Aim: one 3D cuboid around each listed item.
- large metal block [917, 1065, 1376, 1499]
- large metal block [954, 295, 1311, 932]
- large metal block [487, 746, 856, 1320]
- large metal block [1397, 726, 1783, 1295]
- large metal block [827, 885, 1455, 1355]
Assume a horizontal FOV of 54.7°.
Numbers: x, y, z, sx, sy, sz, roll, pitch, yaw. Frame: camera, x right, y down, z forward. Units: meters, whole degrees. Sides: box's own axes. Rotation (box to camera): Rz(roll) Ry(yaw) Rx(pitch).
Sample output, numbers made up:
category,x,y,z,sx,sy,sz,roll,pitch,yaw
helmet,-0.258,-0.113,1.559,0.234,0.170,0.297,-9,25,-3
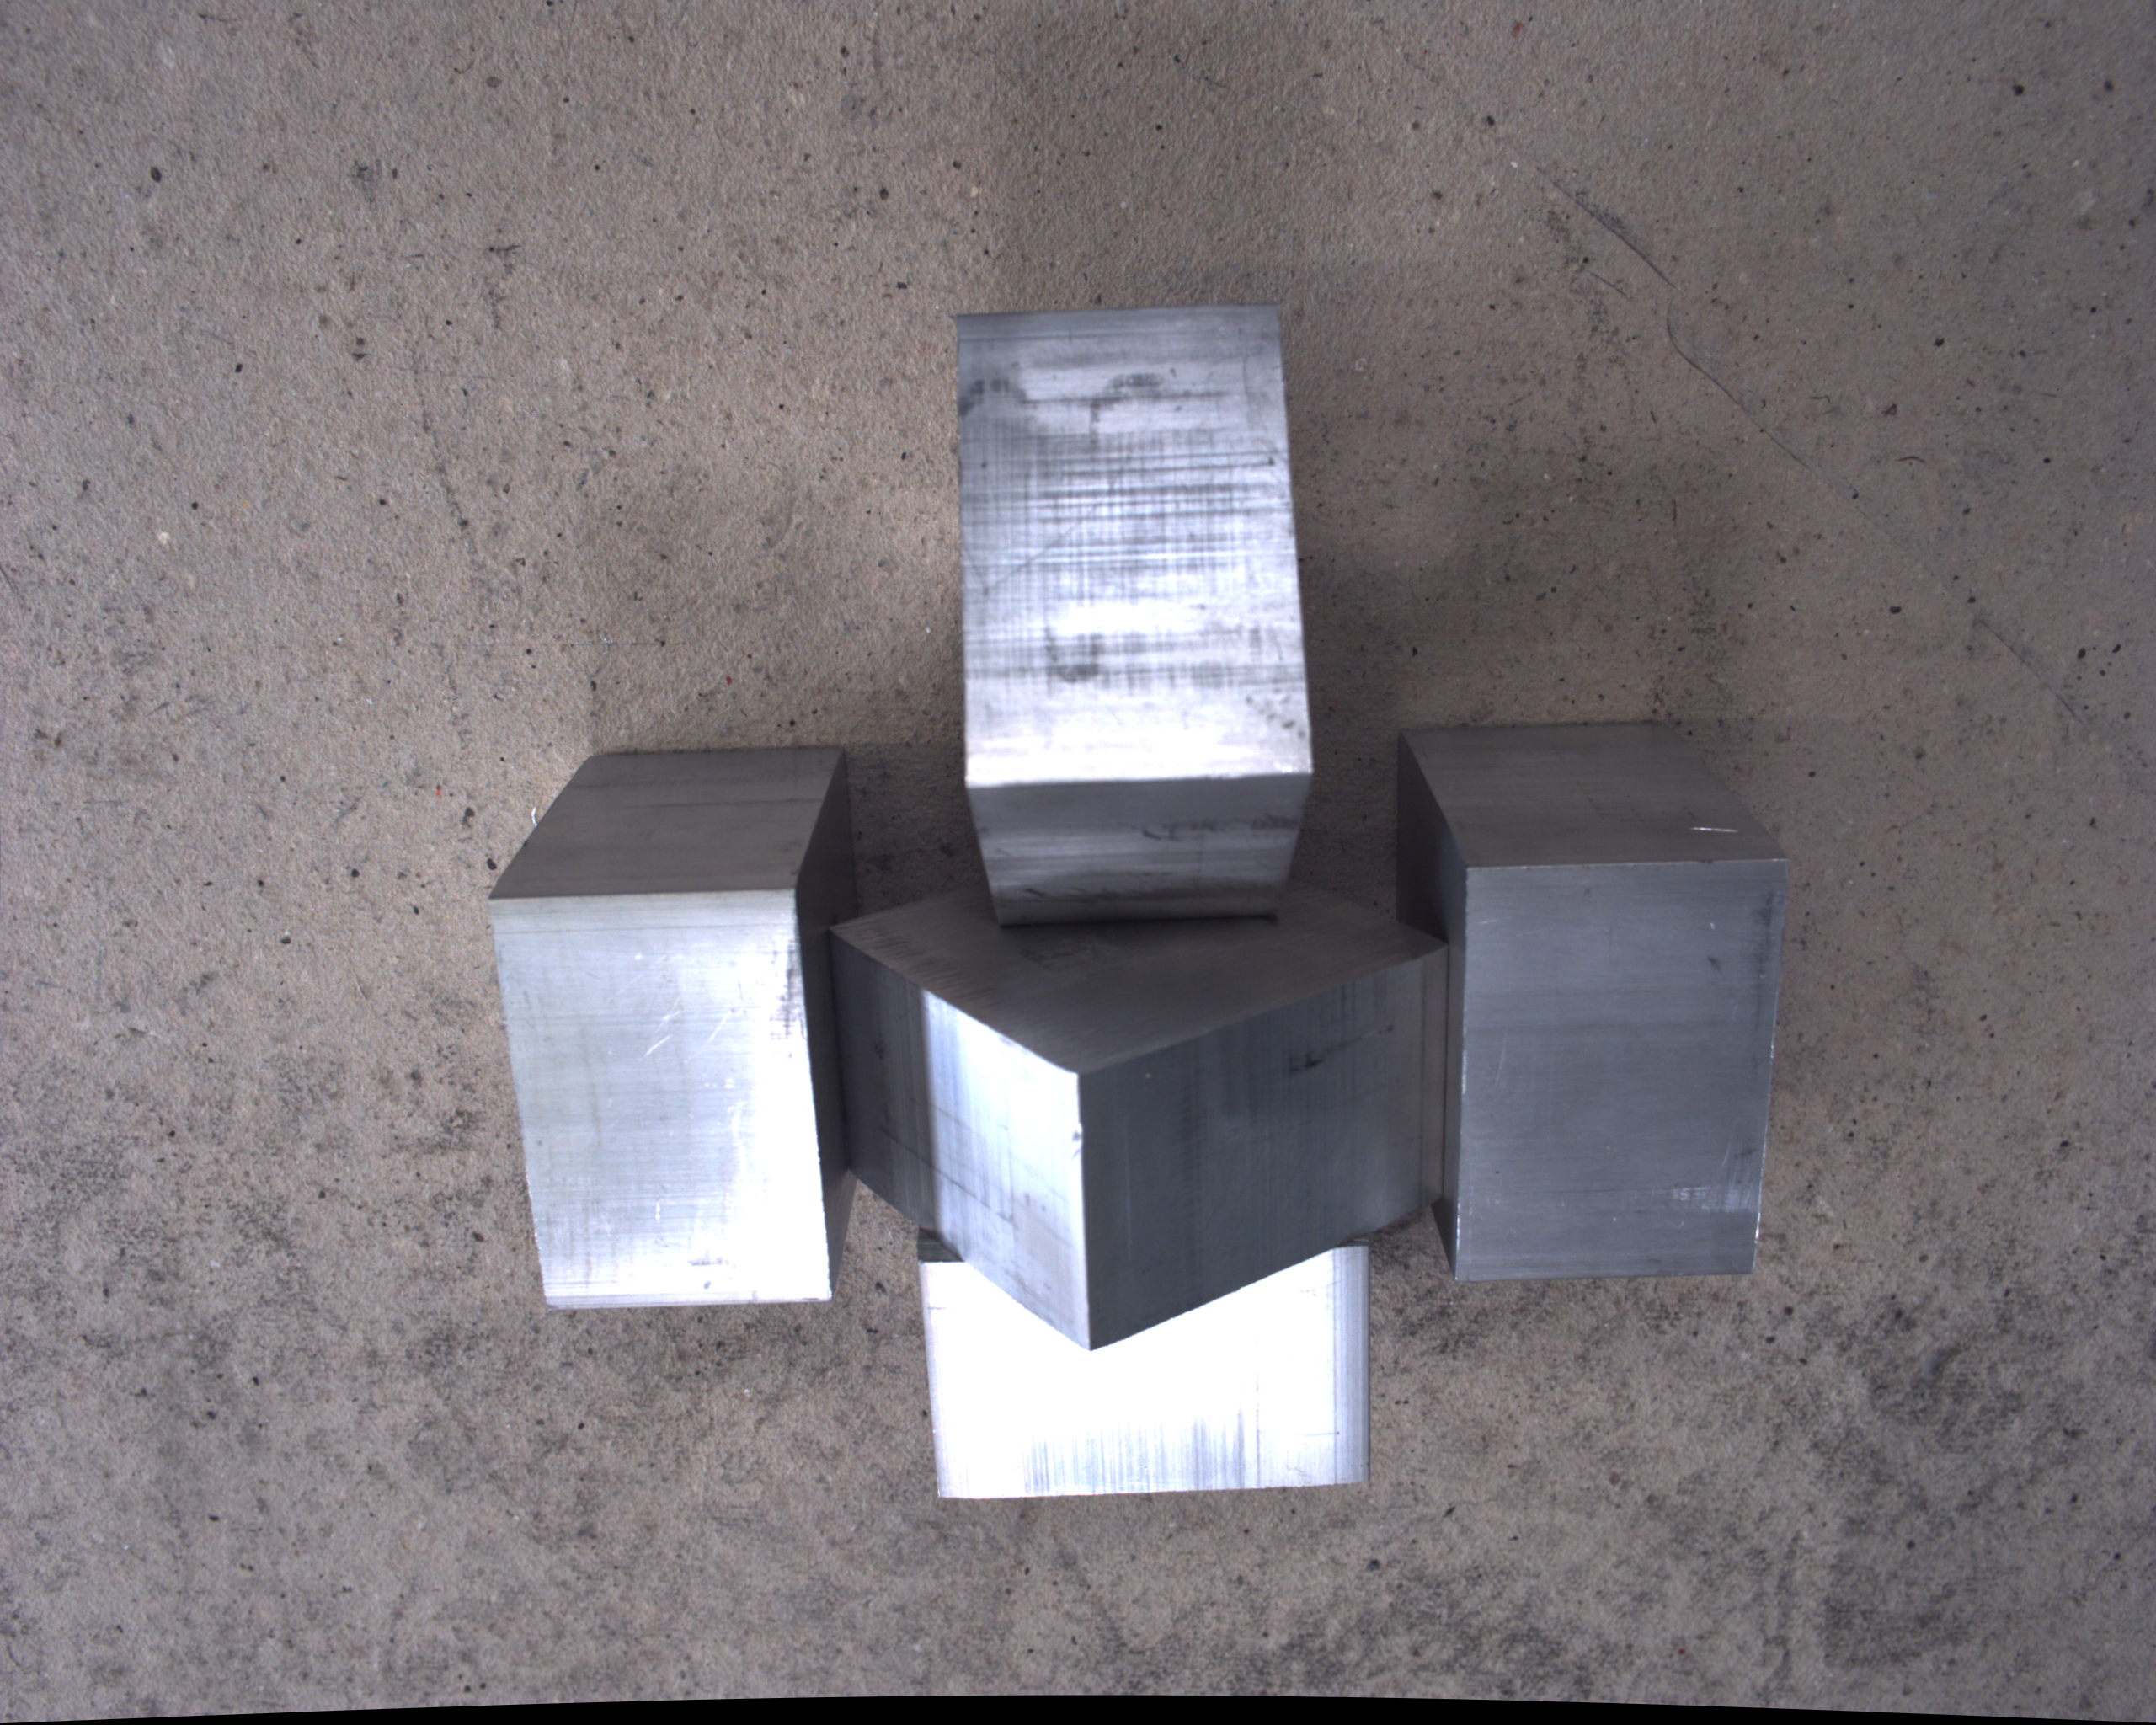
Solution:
category,x,y,z,sx,sy,sz,roll,pitch,yaw
large metal block,0.013,0.078,0.411,0.080,0.080,0.050,-2,110,1
large metal block,0.008,-0.038,0.352,0.050,0.080,0.080,-2,73,1
large metal block,-0.070,0.029,0.391,0.050,0.080,0.079,-2,110,0
large metal block,0.091,0.024,0.391,0.050,0.080,0.079,-2,109,0
large metal block,0.011,0.037,0.380,0.081,0.080,0.050,-15,113,-32
